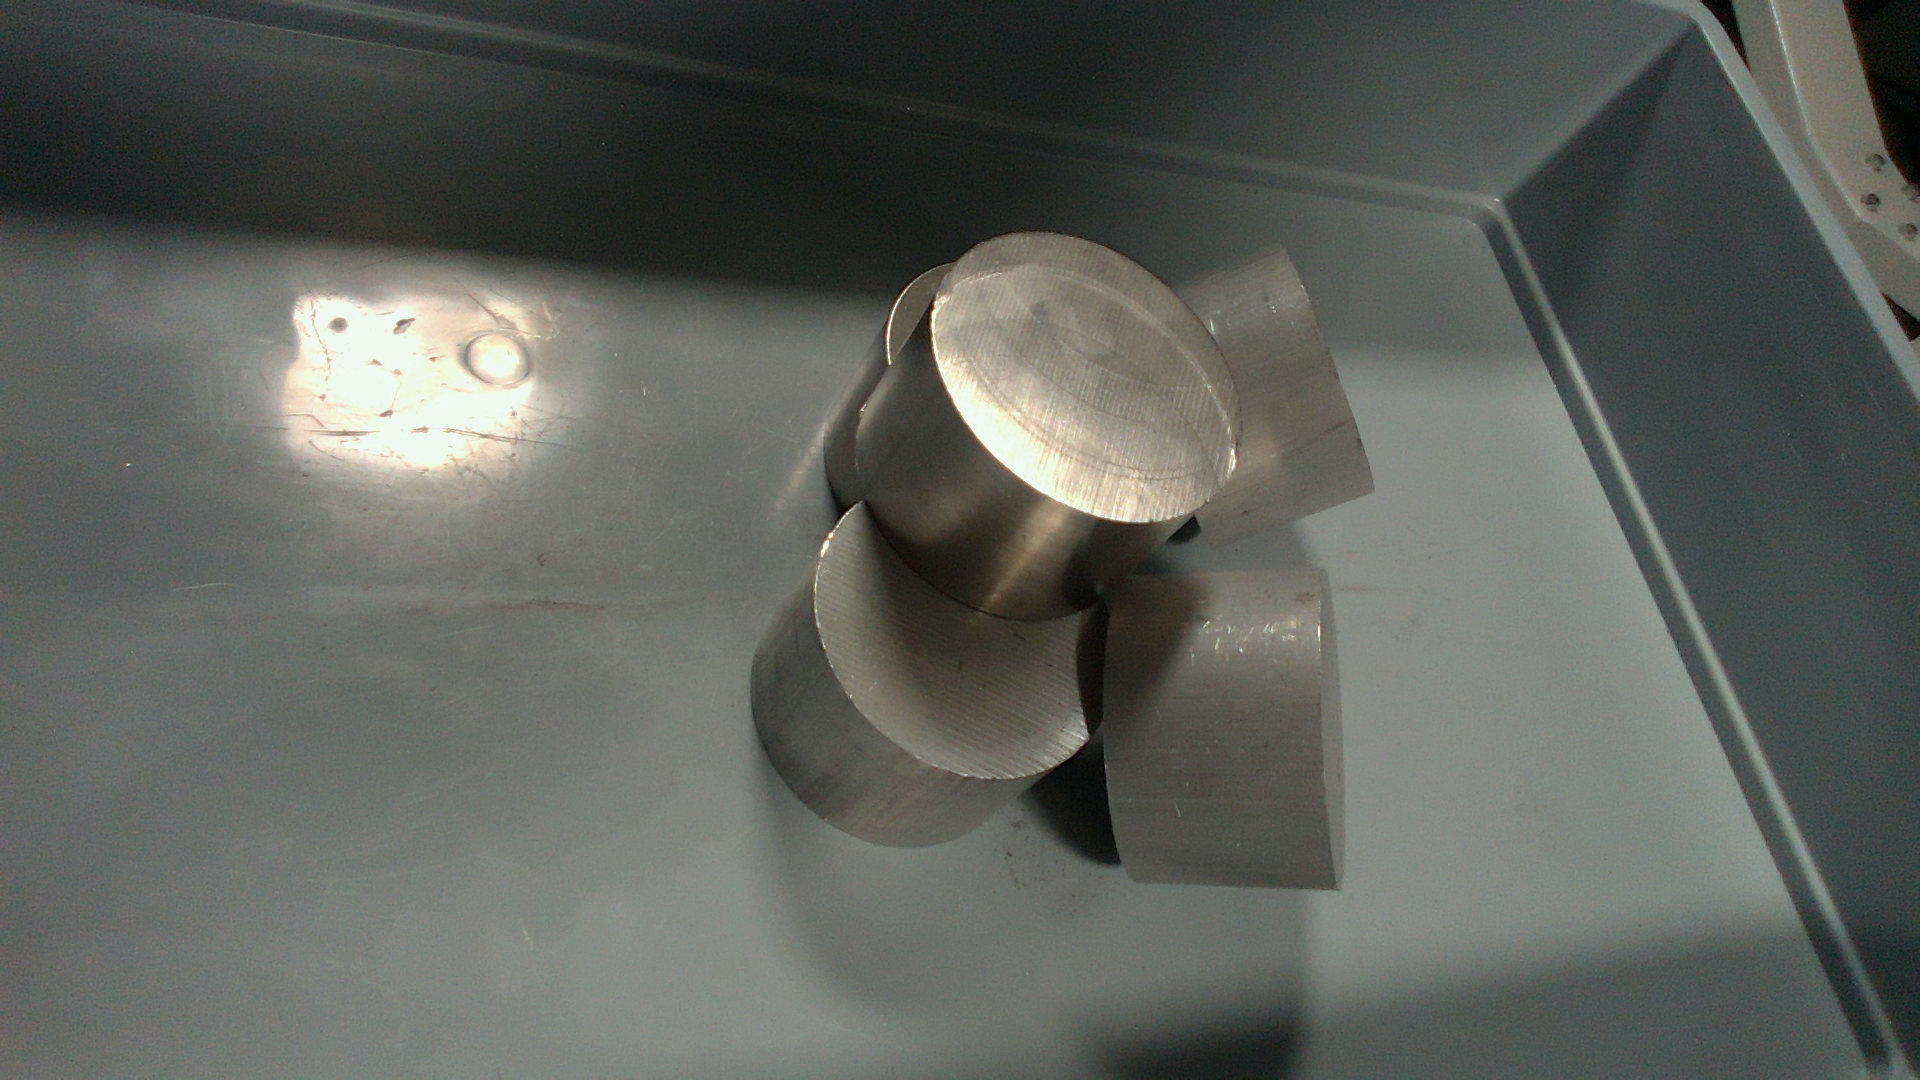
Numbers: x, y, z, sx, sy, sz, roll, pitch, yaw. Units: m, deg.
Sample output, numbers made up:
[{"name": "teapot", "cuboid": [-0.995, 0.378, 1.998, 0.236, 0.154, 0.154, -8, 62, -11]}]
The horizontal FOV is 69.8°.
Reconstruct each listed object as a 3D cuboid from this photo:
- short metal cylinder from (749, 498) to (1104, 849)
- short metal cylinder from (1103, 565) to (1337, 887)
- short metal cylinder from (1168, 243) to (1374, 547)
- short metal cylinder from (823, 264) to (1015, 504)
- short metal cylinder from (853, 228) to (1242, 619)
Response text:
[{"name": "short metal cylinder", "cuboid": [-0.008, 0.032, 0.349, 0.080, 0.050, 0.080, 14, 56, -21]}, {"name": "short metal cylinder", "cuboid": [0.070, 0.047, 0.353, 0.050, 0.080, 0.080, -3, 53, 18]}, {"name": "short metal cylinder", "cuboid": [0.087, -0.043, 0.419, 0.080, 0.050, 0.080, -21, 90, -77]}, {"name": "short metal cylinder", "cuboid": [0.007, -0.033, 0.395, 0.080, 0.050, 0.080, 14, 56, -21]}, {"name": "short metal cylinder", "cuboid": [0.020, -0.028, 0.334, 0.080, 0.050, 0.080, 14, 56, -21]}]
